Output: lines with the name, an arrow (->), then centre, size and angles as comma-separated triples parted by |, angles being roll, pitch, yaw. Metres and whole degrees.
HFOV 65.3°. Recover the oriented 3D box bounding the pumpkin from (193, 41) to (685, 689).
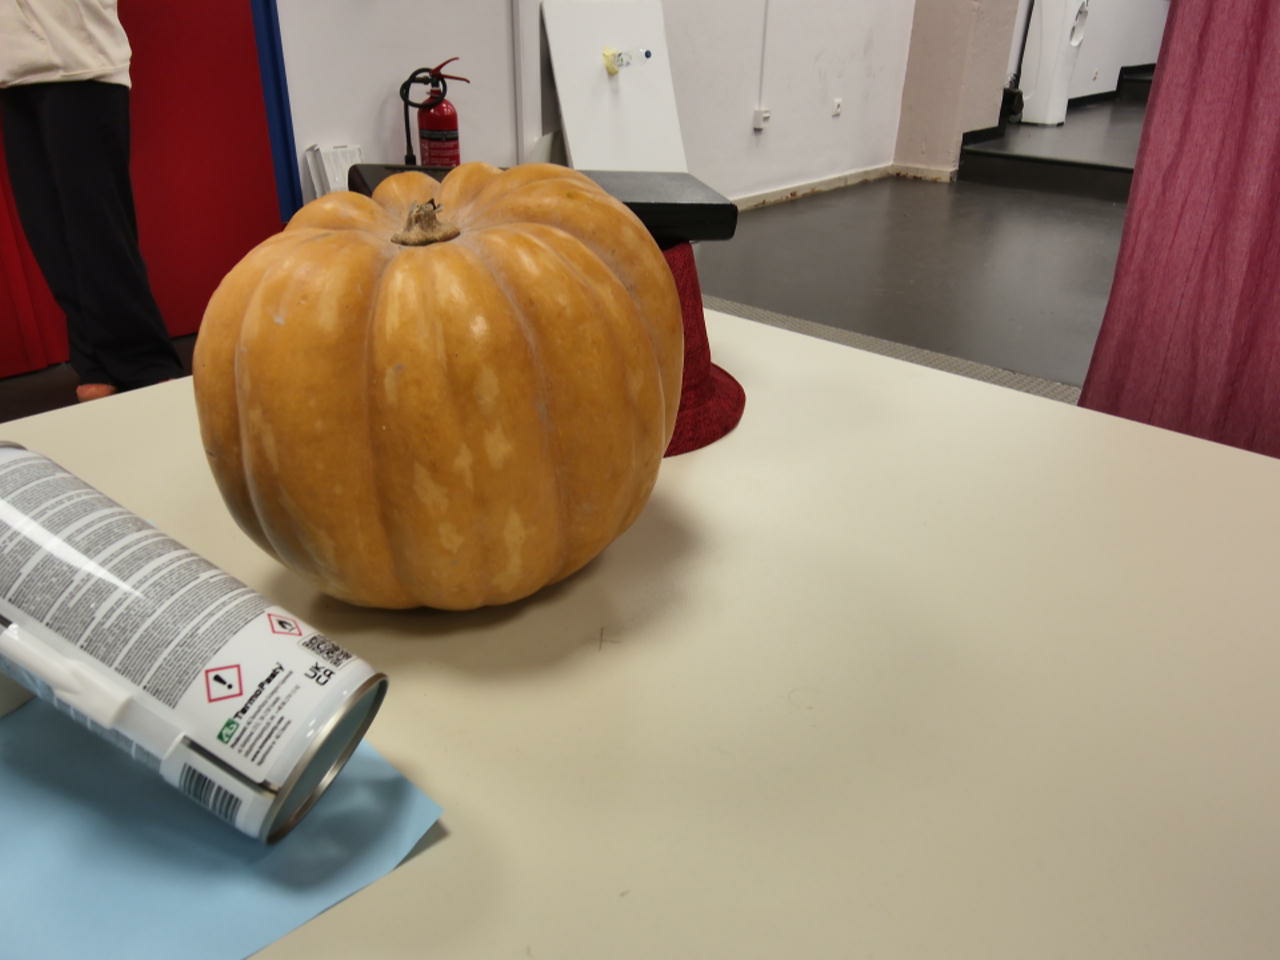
pumpkin -> -0.089, -0.045, 0.474 | 0.230, 0.194, 0.230 | 0, 25, 0
